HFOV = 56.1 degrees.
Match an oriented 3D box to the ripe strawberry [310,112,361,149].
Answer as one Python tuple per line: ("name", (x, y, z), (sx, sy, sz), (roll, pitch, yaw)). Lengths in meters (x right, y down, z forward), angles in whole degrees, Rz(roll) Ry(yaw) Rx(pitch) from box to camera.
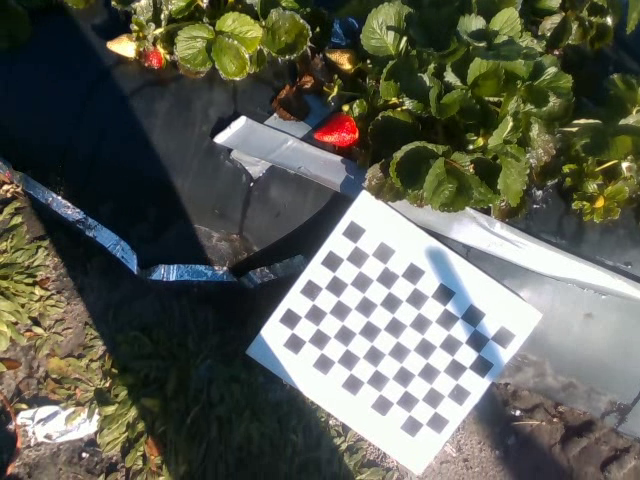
("ripe strawberry", (0.019, -0.145, 0.823), (0.065, 0.062, 0.057), (-28, 9, -40))
